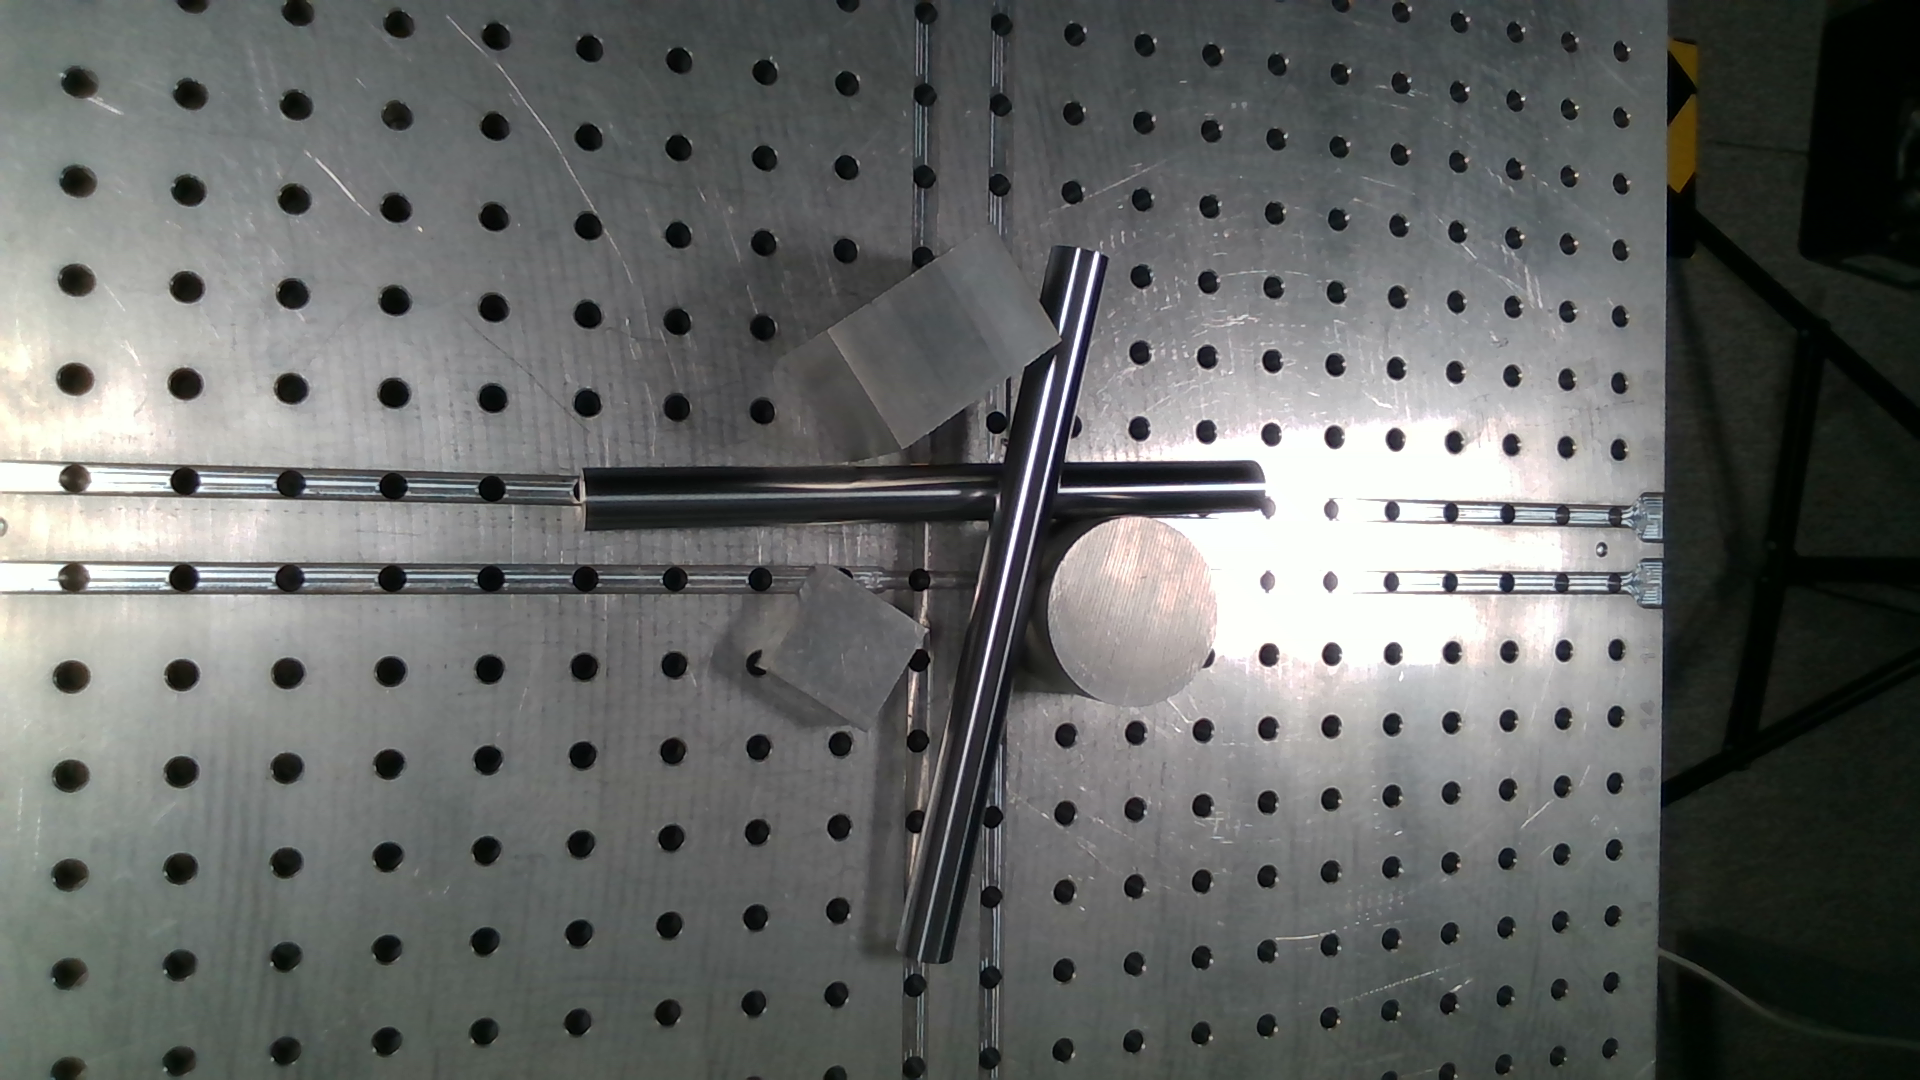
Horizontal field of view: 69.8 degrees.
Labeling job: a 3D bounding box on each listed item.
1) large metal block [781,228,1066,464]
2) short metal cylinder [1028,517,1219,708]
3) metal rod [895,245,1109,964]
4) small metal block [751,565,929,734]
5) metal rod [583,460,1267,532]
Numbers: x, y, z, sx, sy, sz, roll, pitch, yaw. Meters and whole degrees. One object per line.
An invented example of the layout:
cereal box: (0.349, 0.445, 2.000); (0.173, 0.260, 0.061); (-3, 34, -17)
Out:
large metal block: (-0.017, -0.075, 0.551); (0.080, 0.080, 0.050); (-37, 102, -16)
short metal cylinder: (0.065, 0.030, 0.599); (0.080, 0.050, 0.080); (0, 90, -20)
metal rod: (0.017, 0.028, 0.575); (0.025, 0.025, 0.300); (11, 94, -20)
small metal block: (-0.050, 0.045, 0.571); (0.050, 0.025, 0.050); (35, 79, -17)
metal rod: (-0.005, -0.020, 0.586); (0.300, 0.025, 0.025); (-2, 91, -20)
